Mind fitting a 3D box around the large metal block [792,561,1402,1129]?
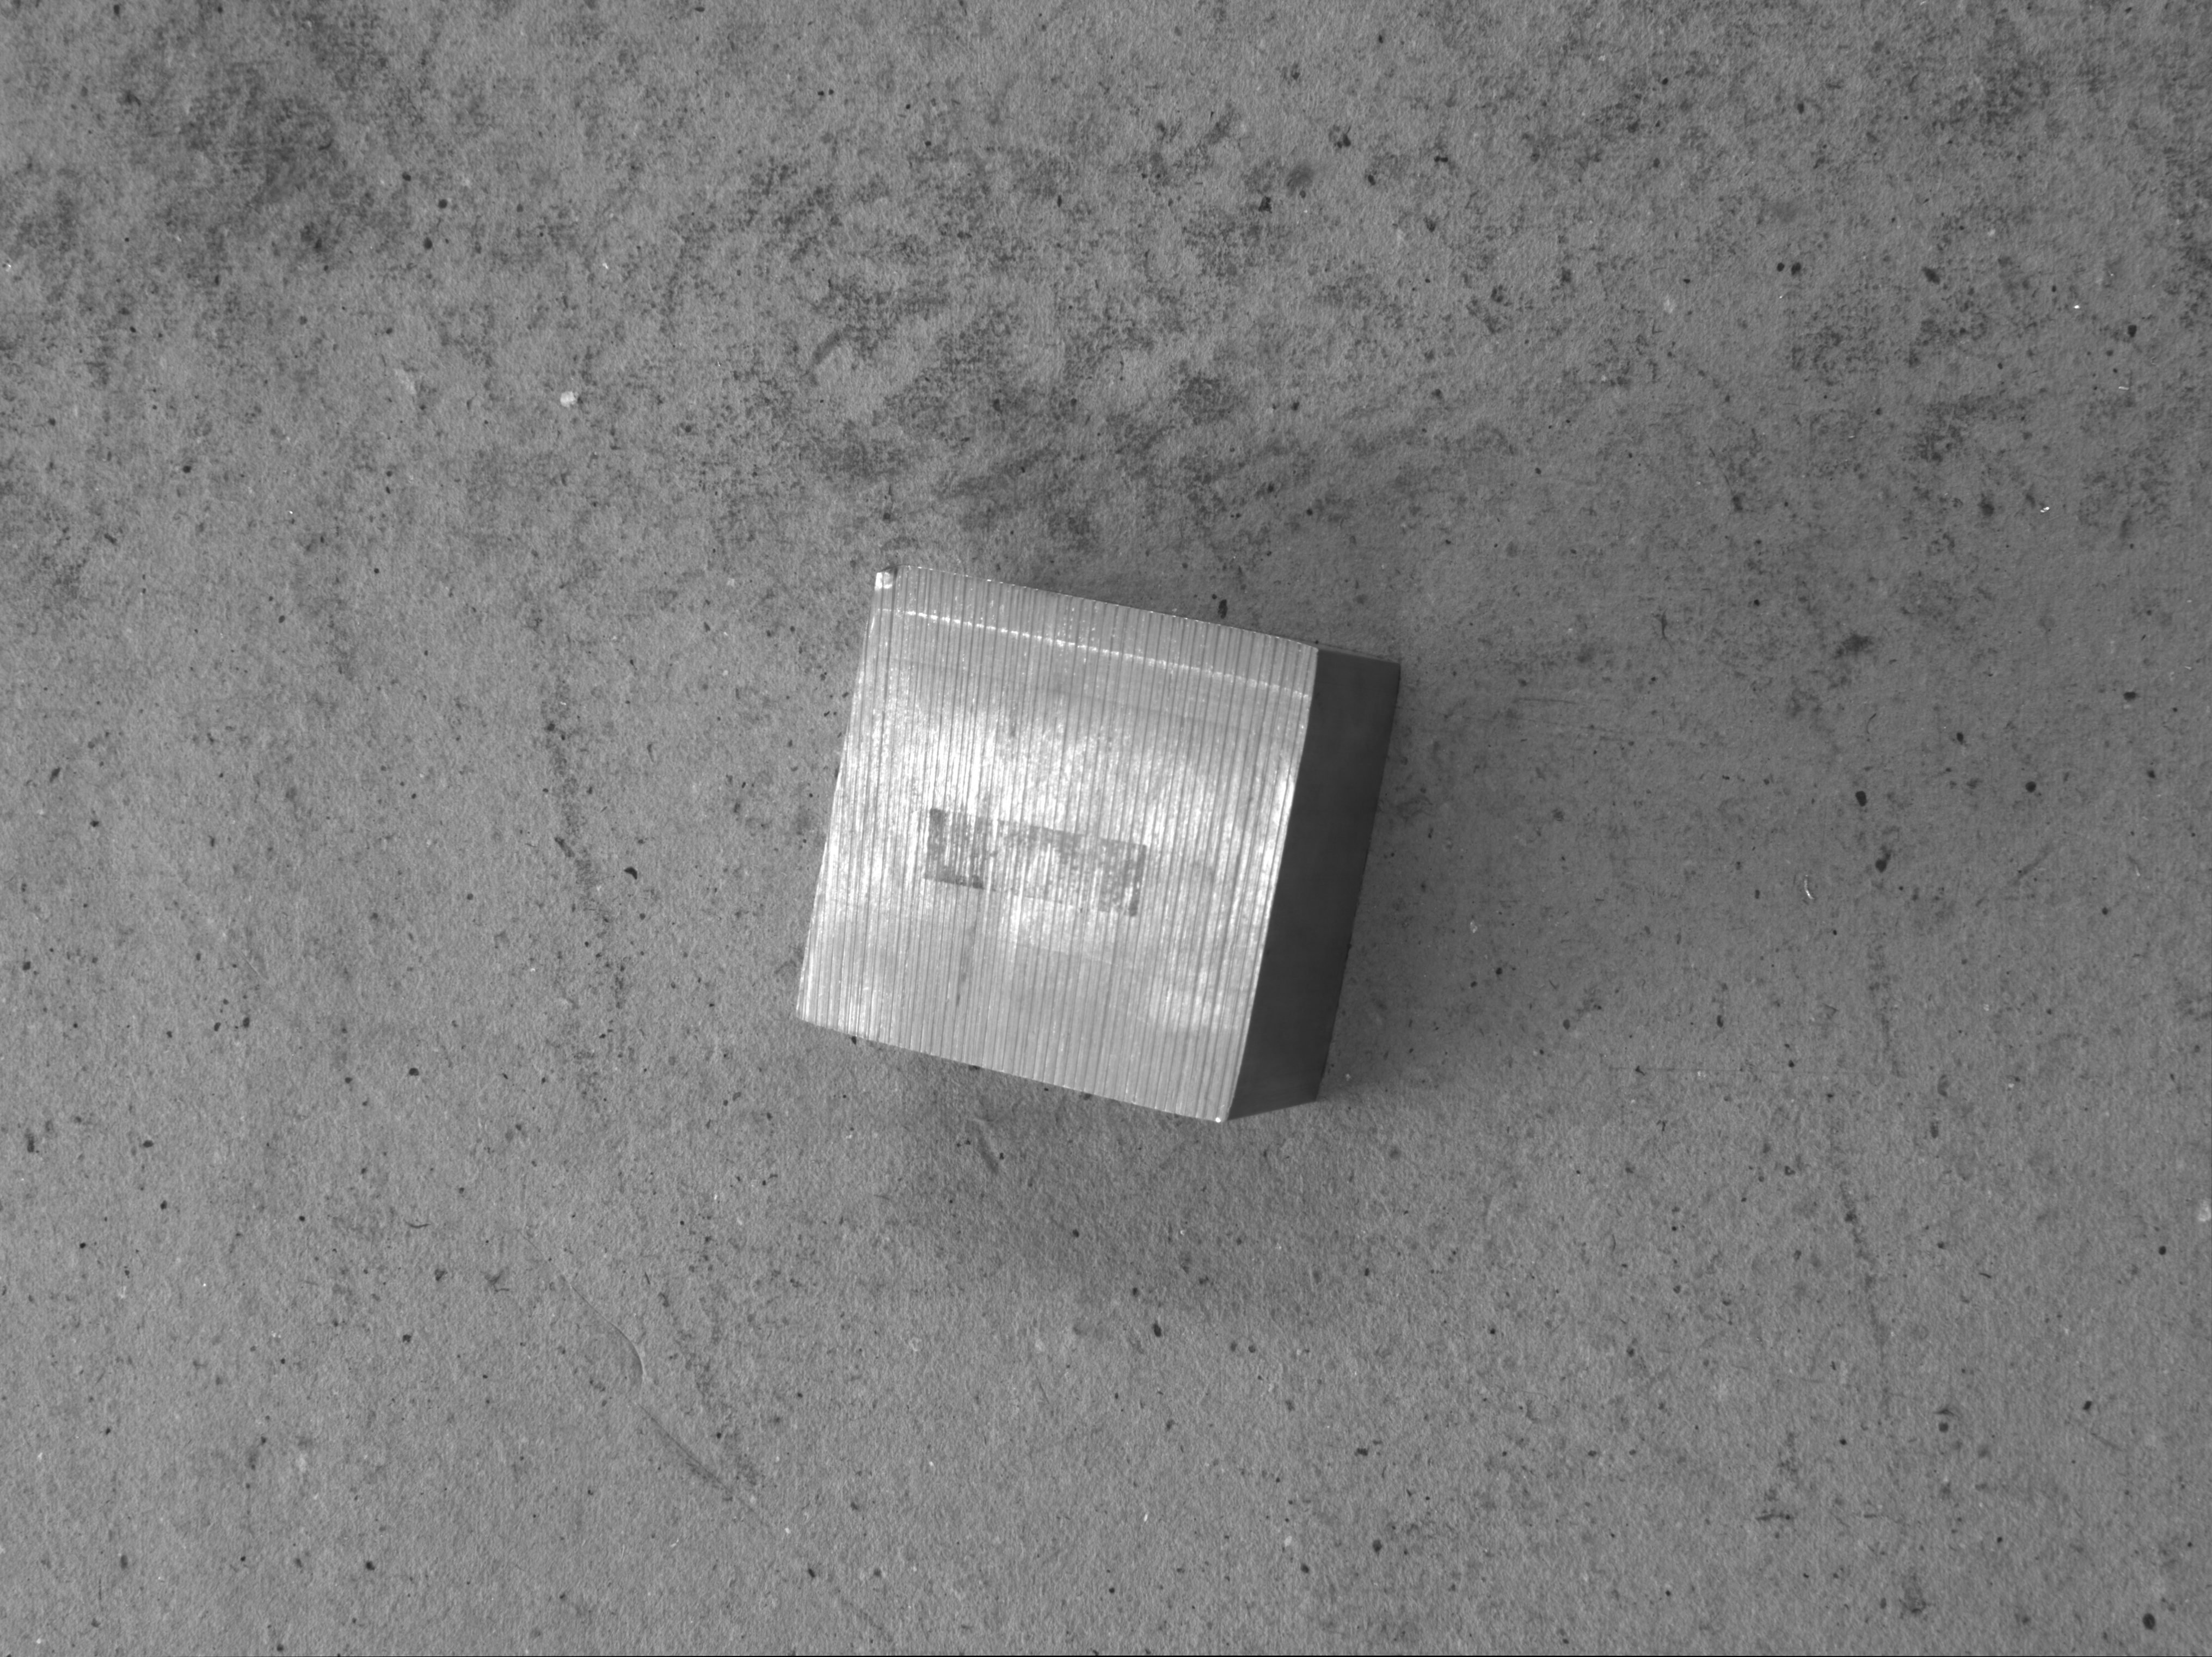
[{"bbox_3d":[-0.001,0.002,0.634,0.080,0.050,0.080,12,94,19],"label":"large metal block"}]
